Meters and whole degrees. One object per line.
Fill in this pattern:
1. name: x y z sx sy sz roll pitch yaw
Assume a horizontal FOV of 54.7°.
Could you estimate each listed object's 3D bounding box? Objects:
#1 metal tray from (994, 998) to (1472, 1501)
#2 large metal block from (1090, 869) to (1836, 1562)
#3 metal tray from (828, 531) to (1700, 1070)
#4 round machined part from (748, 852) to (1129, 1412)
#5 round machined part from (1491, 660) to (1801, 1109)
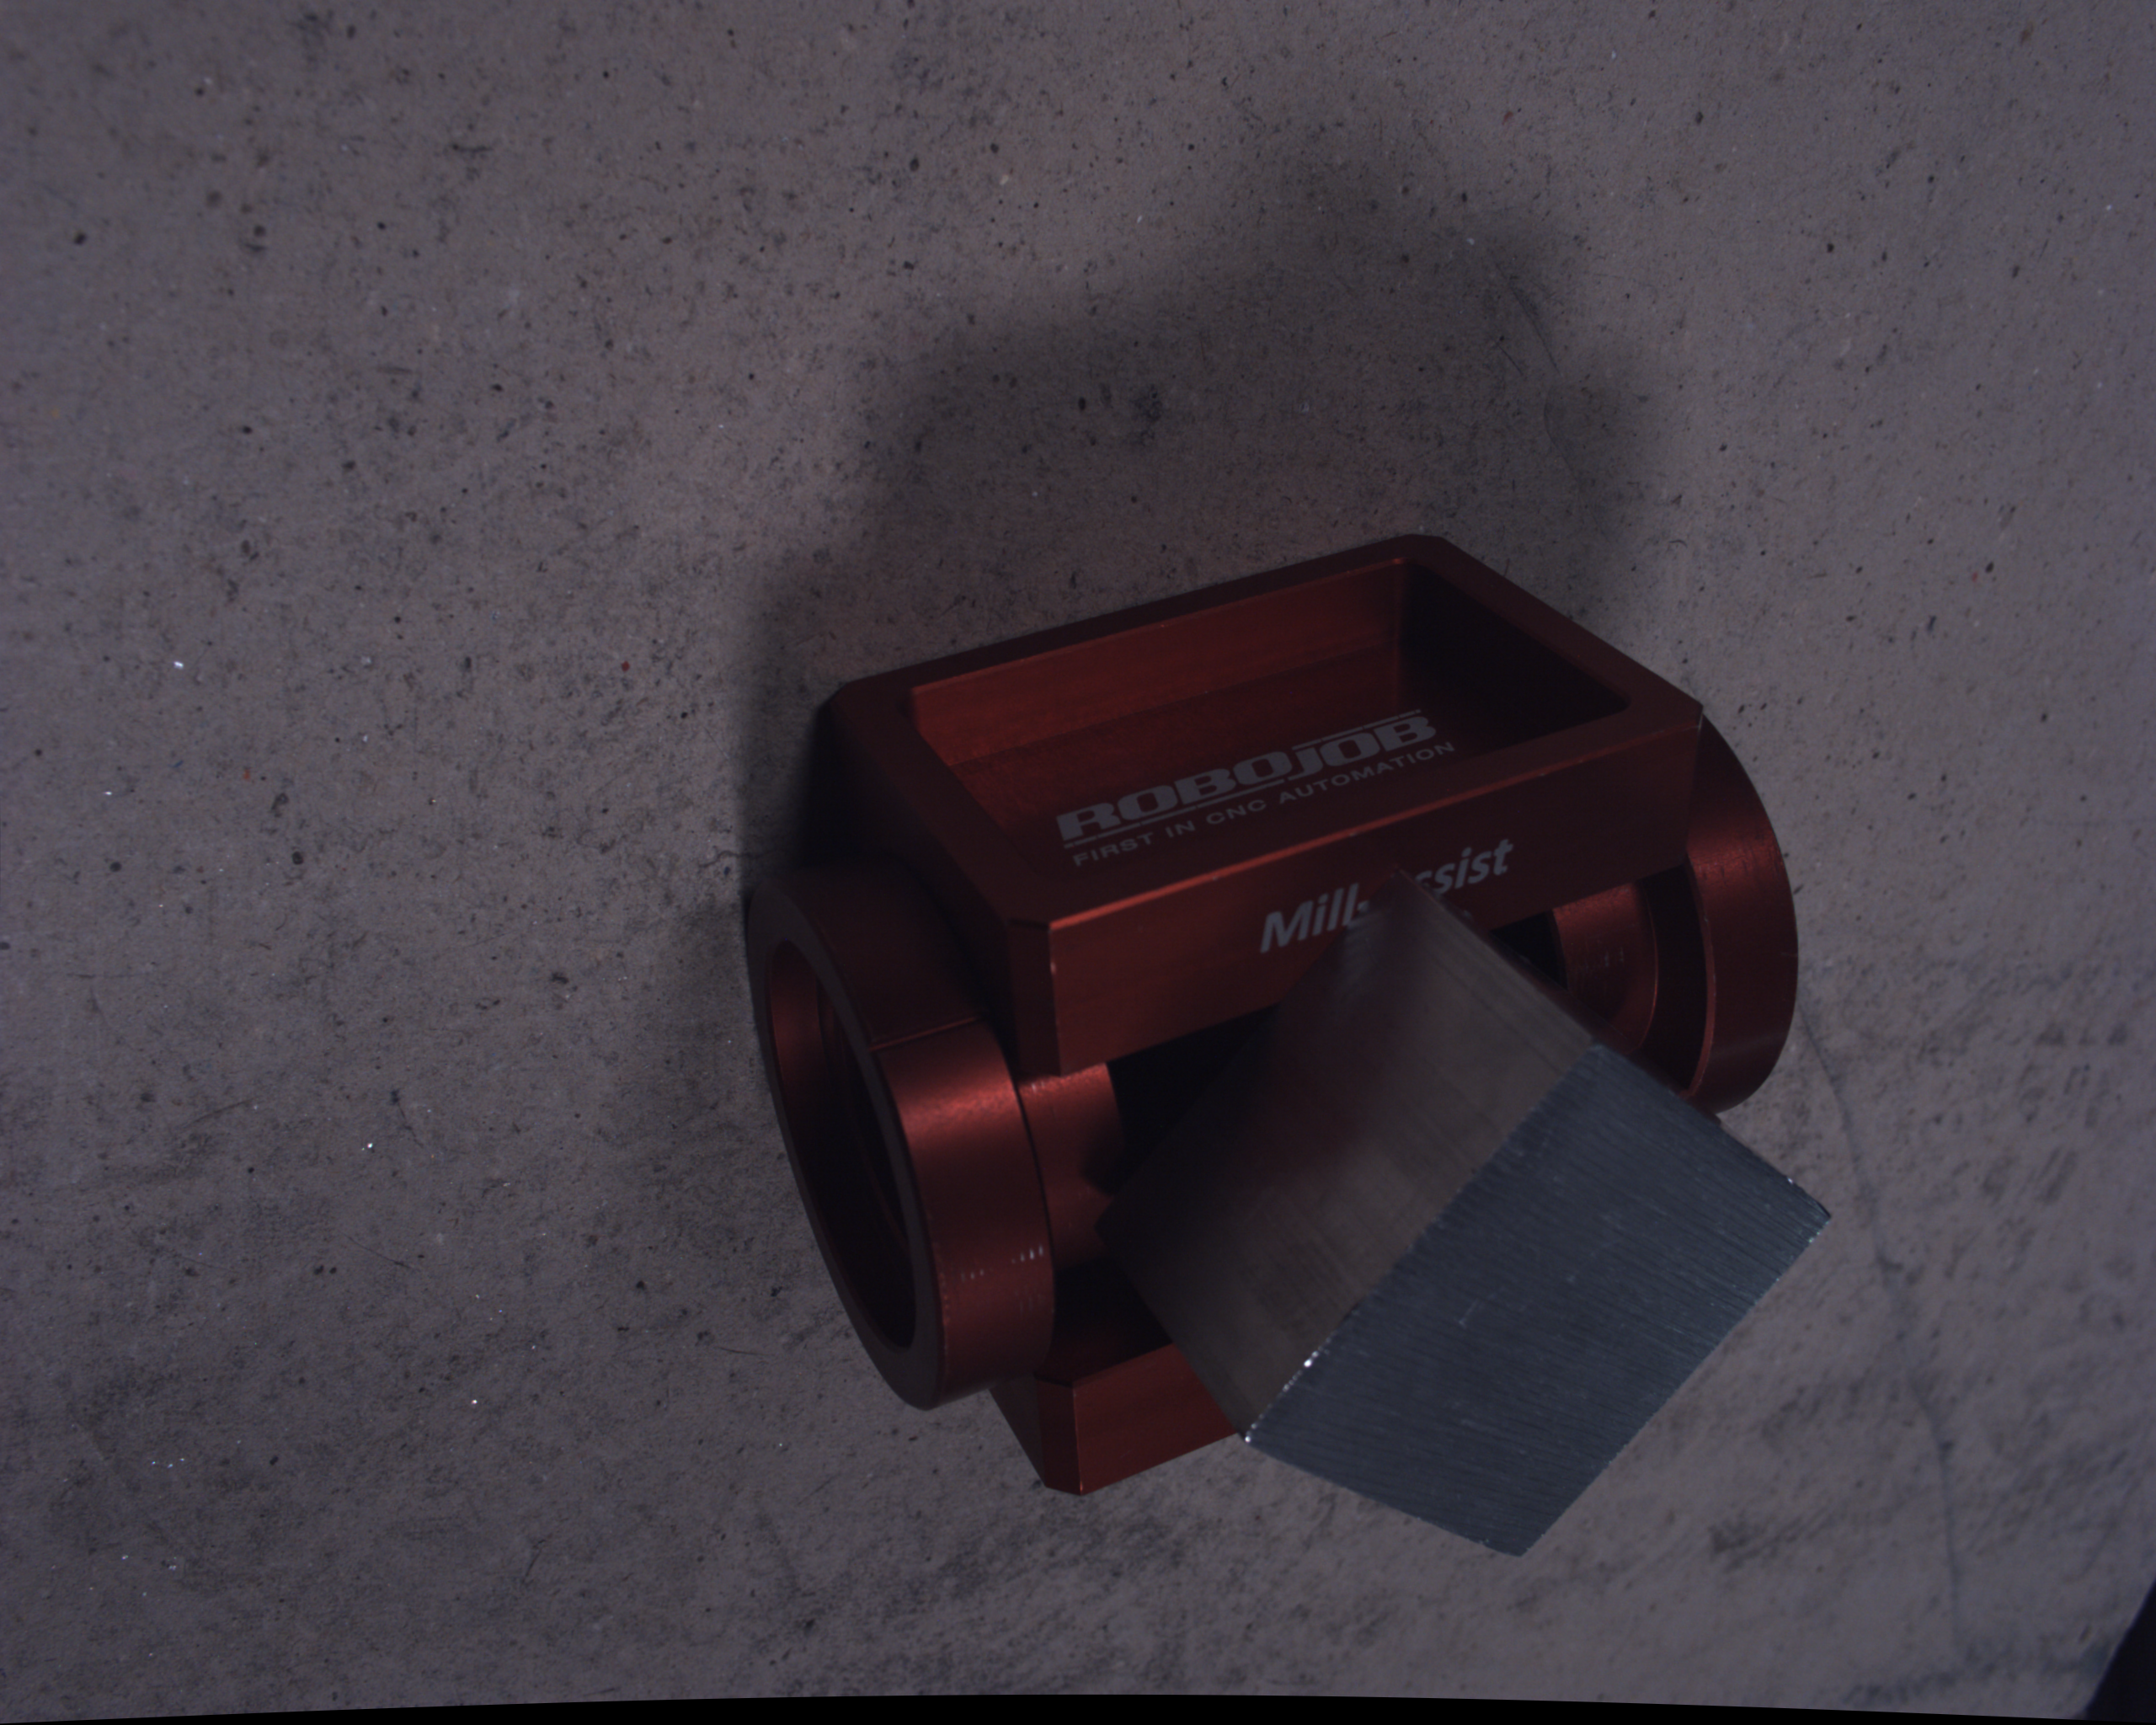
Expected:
1. metal tray: 0.036 0.067 0.427 0.131 0.090 0.030 -16 125 -20
2. large metal block: 0.064 0.060 0.347 0.080 0.050 0.080 34 99 -39
3. metal tray: 0.032 -0.017 0.376 0.131 0.090 0.030 -17 126 -19
4. round machined part: -0.024 0.045 0.377 0.042 0.098 0.097 -15 125 -21
5. round machined part: 0.096 0.010 0.421 0.042 0.098 0.097 -15 125 -21
